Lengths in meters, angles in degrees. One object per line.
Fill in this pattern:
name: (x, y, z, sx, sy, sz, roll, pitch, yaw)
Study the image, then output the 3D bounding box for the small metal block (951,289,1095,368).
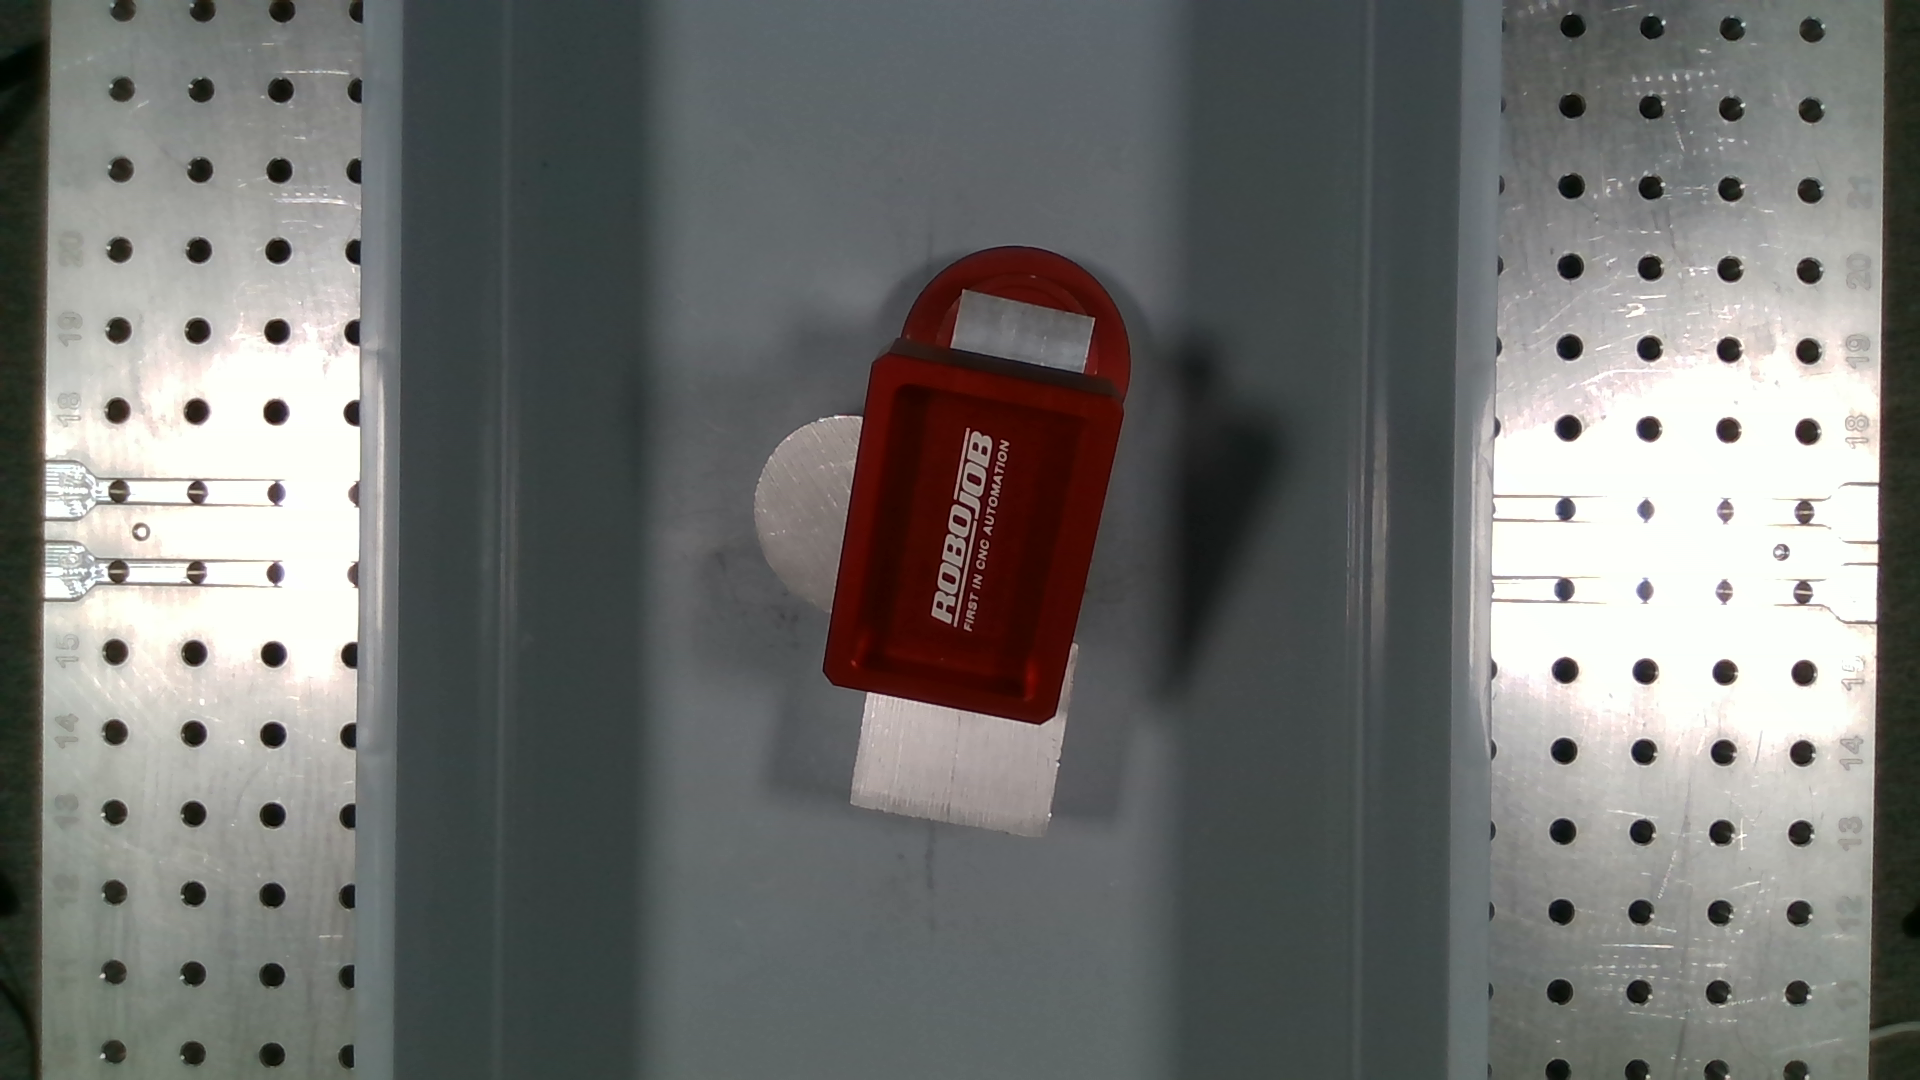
small metal block: (0.023, -0.075, 0.530, 0.050, 0.050, 0.025, 12, 90, 0)

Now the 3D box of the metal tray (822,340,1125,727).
metal tray: (0.003, -0.002, 0.513, 0.090, 0.030, 0.130, 11, 110, 0)

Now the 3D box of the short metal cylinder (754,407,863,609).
short metal cylinder: (-0.037, -0.014, 0.561, 0.080, 0.050, 0.080, 3, 103, 12)

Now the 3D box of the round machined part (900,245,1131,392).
round machined part: (0.023, -0.075, 0.577, 0.098, 0.042, 0.098, 0, 90, 0)

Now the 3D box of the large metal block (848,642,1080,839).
large metal block: (0.002, 0.073, 0.573, 0.080, 0.050, 0.080, 10, 90, 0)
